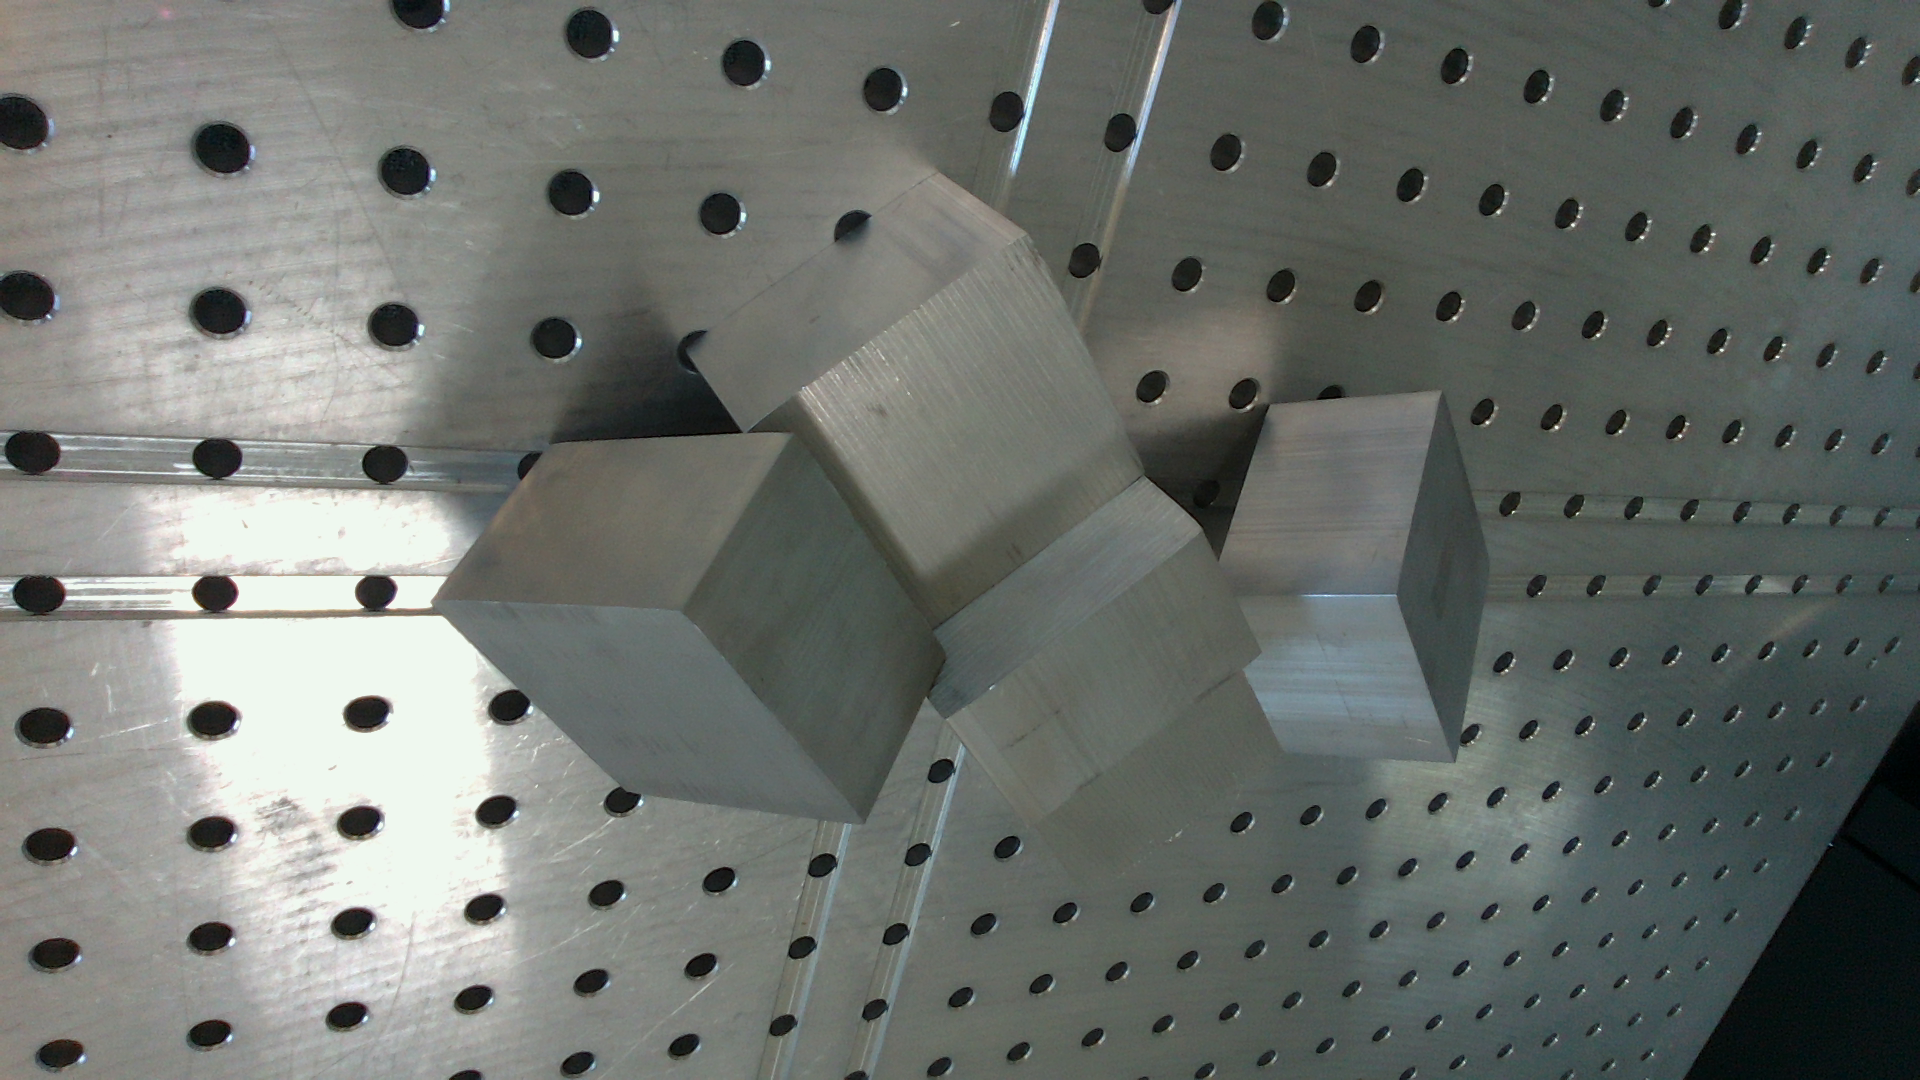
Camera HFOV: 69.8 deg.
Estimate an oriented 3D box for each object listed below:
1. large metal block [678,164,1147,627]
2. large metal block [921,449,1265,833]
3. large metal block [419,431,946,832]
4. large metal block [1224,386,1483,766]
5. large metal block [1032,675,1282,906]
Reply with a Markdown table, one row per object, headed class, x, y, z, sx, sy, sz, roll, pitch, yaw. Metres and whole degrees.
| class | x | y | z | sx | sy | sz | roll | pitch | yaw |
| --- | --- | --- | --- | --- | --- | --- | --- | --- | --- |
| large metal block | -0.011 | -0.033 | 0.350 | 0.080 | 0.050 | 0.080 | -35 | 130 | -3 |
| large metal block | 0.022 | 0.018 | 0.379 | 0.080 | 0.080 | 0.050 | -36 | 130 | -4 |
| large metal block | -0.063 | 0.022 | 0.326 | 0.080 | 0.080 | 0.050 | 58 | 45 | -39 |
| large metal block | 0.122 | 0.011 | 0.422 | 0.080 | 0.050 | 0.080 | 58 | 44 | -39 |
| large metal block | 0.044 | 0.054 | 0.432 | 0.080 | 0.050 | 0.080 | -35 | 128 | -5 |
